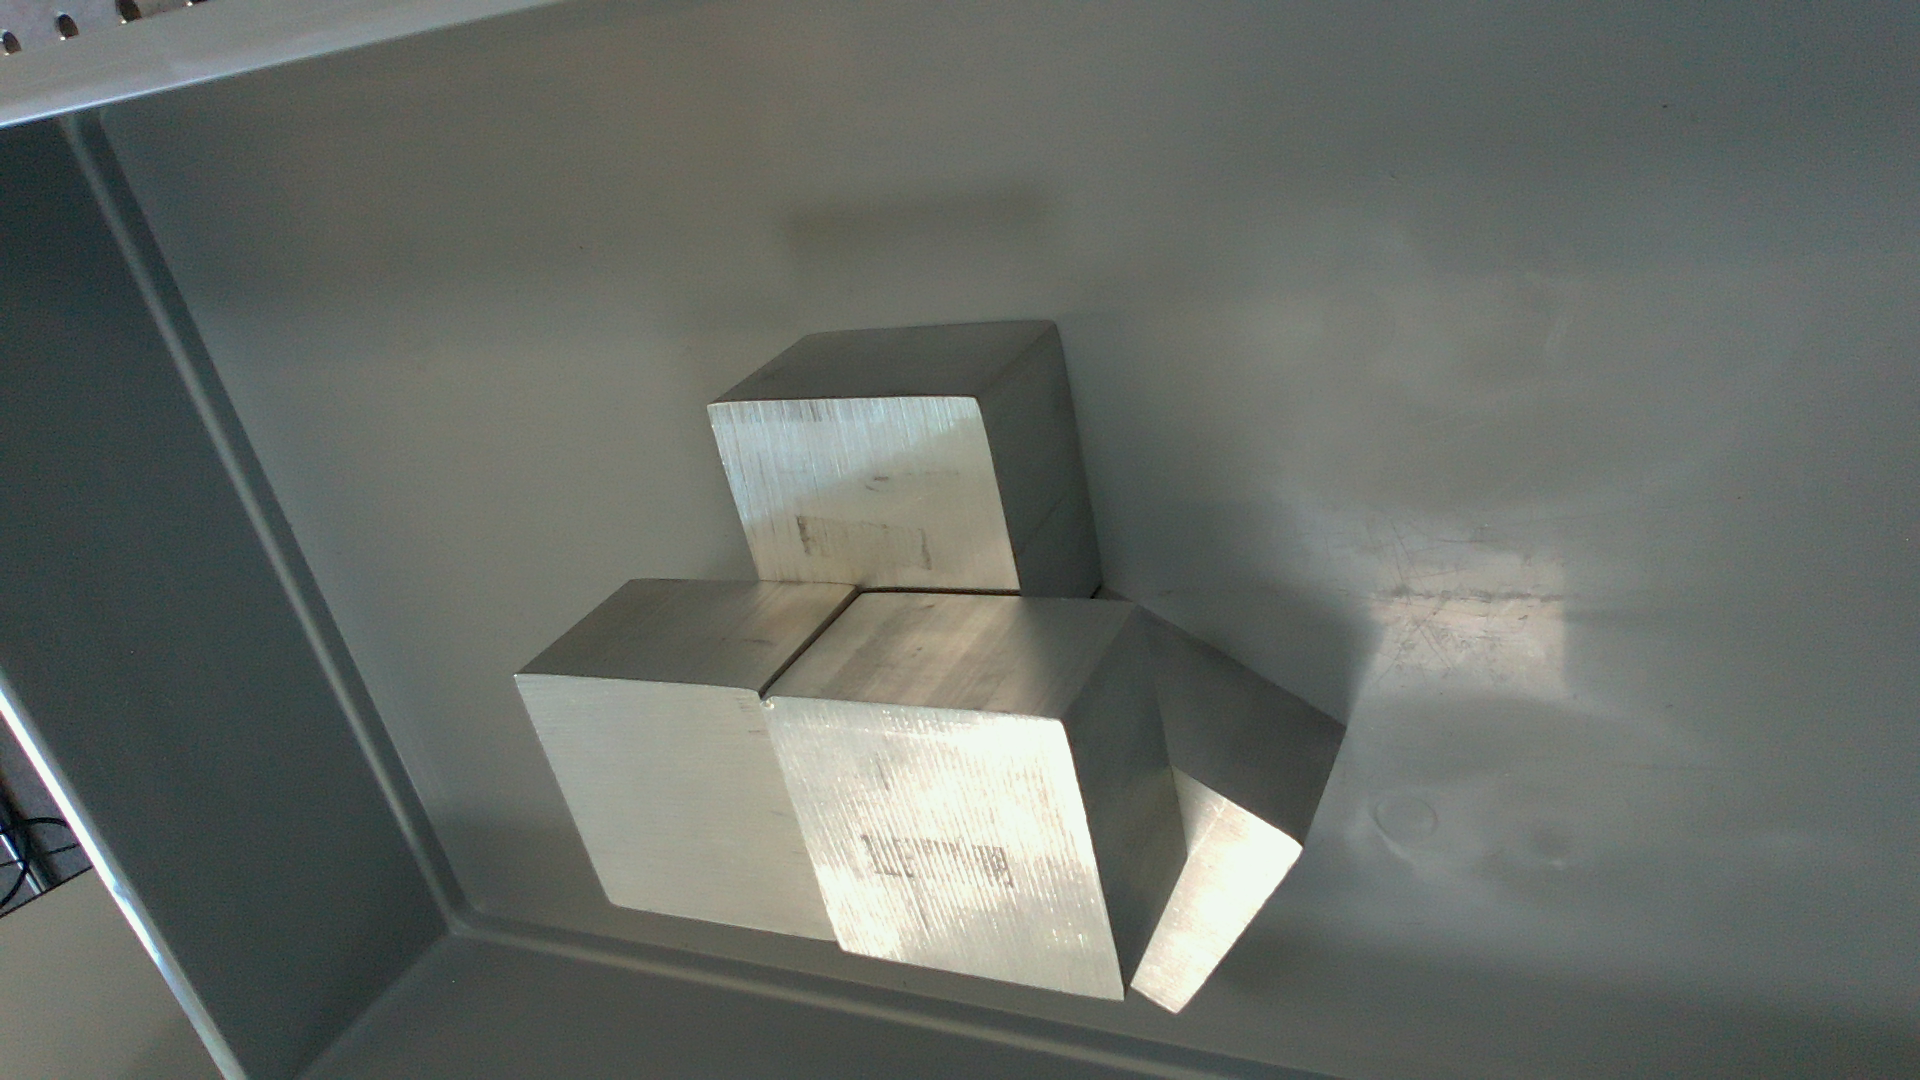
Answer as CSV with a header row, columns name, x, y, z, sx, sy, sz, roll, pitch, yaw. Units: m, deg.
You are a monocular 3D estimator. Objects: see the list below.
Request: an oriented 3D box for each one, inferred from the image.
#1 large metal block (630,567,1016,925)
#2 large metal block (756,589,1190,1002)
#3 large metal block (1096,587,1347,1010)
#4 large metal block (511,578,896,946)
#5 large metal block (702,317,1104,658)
name,x,y,z,sx,sy,sz,roll,pitch,yaw
large metal block,-0.044,0.068,0.441,0.080,0.050,0.080,-29,102,38
large metal block,0.006,0.061,0.343,0.080,0.050,0.080,1,119,28
large metal block,0.050,0.073,0.392,0.080,0.050,0.080,30,129,9
large metal block,-0.064,0.059,0.381,0.080,0.050,0.080,1,119,28
large metal block,-0.013,-0.012,0.375,0.080,0.050,0.080,1,119,28
